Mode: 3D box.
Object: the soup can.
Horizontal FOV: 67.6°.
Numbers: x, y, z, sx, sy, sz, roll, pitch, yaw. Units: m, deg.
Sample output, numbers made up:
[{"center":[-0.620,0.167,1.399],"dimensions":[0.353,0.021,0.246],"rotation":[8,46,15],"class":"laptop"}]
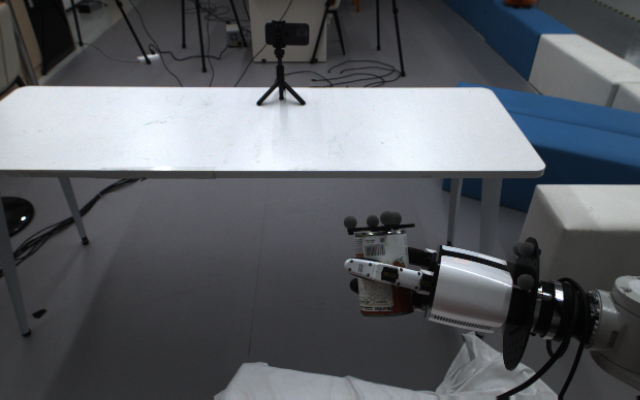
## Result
[{"center":[0.082,0.091,0.611],"dimensions":[0.067,0.101,0.067],"rotation":[-5,-5,0],"class":"soup can"}]
